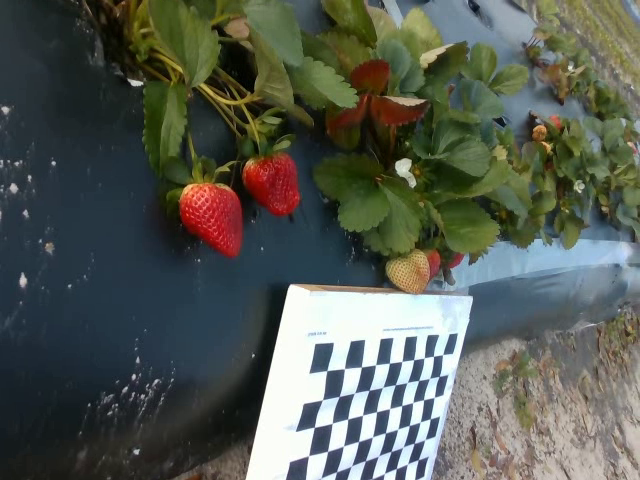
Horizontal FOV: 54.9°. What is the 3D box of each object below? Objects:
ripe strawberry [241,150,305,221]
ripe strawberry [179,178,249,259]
[{"bbox_3d":[-0.030,-0.043,0.449,0.042,0.053,0.034,-15,-11,-44],"label":"ripe strawberry"},{"bbox_3d":[-0.067,-0.013,0.402,0.050,0.061,0.045,-7,-20,-46],"label":"ripe strawberry"}]
